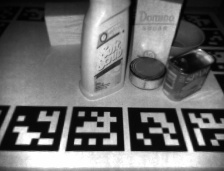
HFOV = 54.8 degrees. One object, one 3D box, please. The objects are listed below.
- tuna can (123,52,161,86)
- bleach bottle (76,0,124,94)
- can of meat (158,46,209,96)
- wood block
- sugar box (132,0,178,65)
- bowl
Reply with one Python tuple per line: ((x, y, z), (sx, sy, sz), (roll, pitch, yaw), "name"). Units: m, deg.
((0.070, -0.040, 0.510), (0.086, 0.034, 0.085), (2, 49, -1), "tuna can")
((-0.028, -0.098, 0.414), (0.103, 0.252, 0.067), (-19, 49, -18), "bleach bottle")
((0.155, -0.032, 0.483), (0.103, 0.084, 0.057), (-21, 47, -23), "can of meat")
((-0.083, -0.196, 0.619), (0.207, 0.090, 0.090), (-5, 51, -9), "wood block")
((0.095, -0.133, 0.502), (0.092, 0.177, 0.045), (14, 50, 16), "sugar box")
((0.174, -0.146, 0.607), (0.161, 0.055, 0.161), (-1, 46, 1), "bowl")
